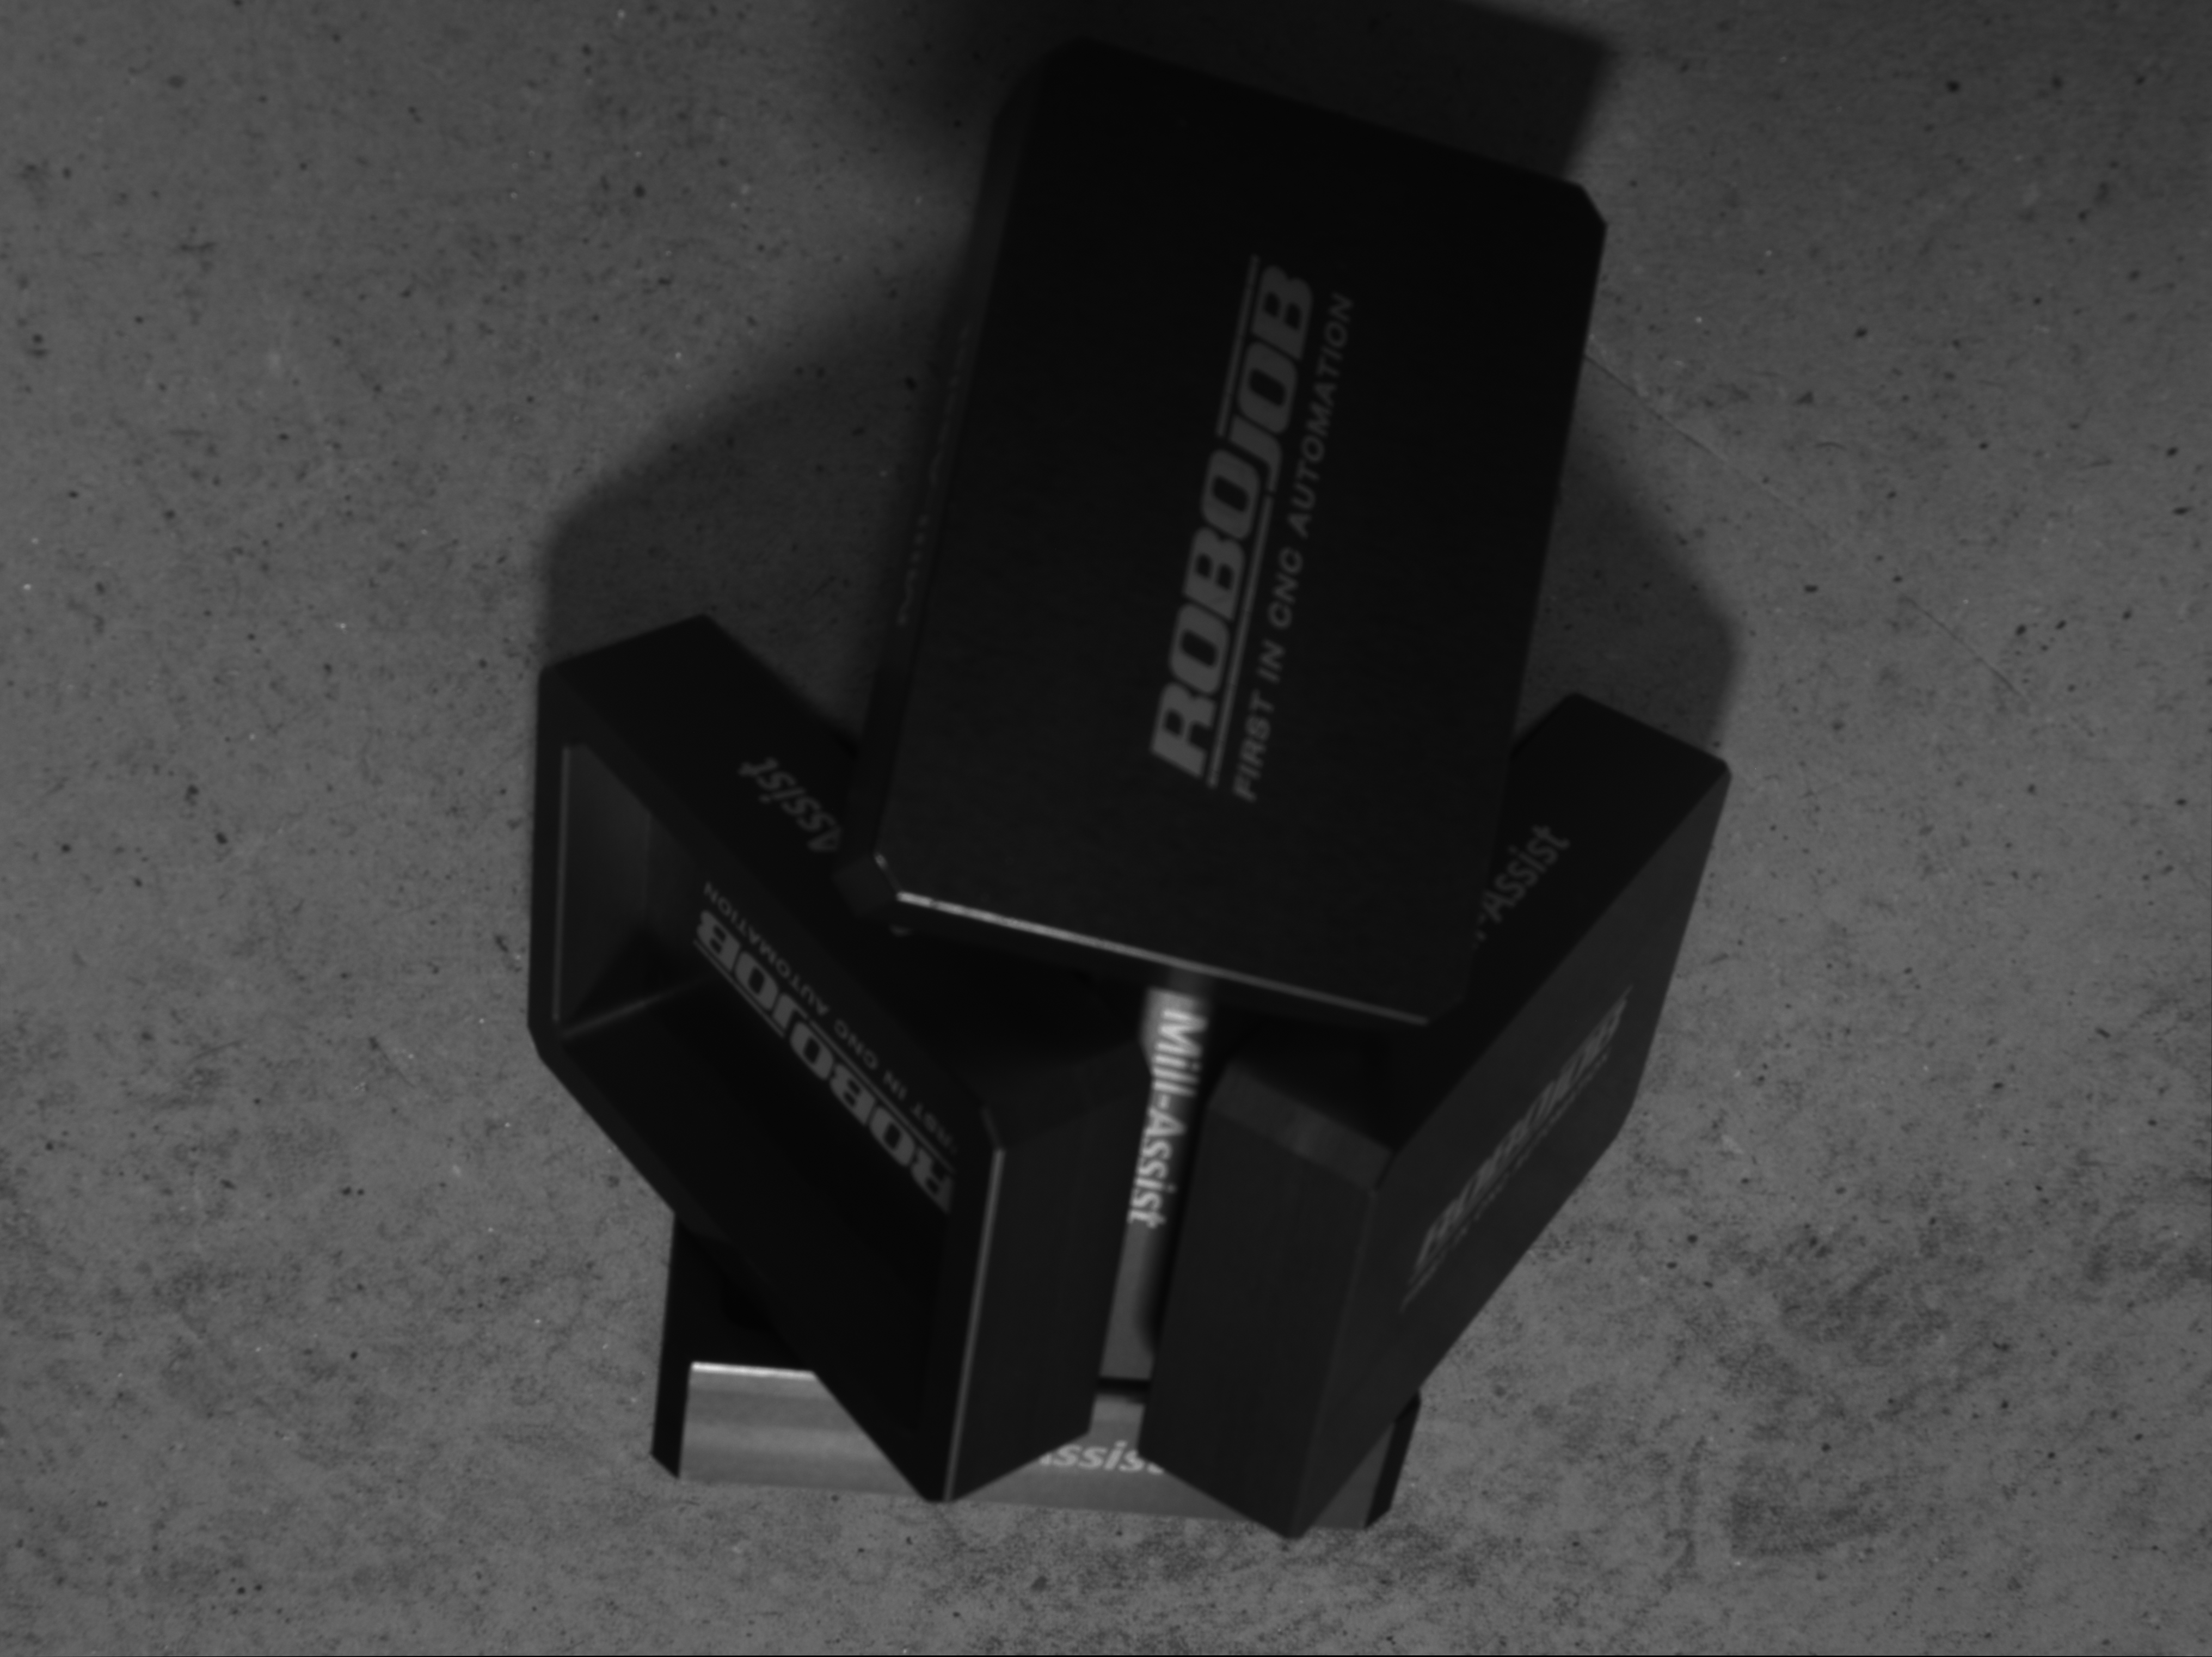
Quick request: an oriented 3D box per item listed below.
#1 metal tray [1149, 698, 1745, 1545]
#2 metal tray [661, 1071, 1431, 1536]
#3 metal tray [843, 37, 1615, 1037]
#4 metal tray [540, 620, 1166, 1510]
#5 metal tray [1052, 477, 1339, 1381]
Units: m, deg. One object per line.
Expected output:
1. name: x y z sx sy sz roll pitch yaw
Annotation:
1. metal tray: 0.058 0.047 0.615 0.030 0.130 0.090 27 133 20
2. metal tray: -0.011 0.079 0.661 0.130 0.090 0.030 6 130 -6
3. metal tray: 0.019 -0.042 0.544 0.090 0.130 0.030 14 169 -13
4. metal tray: -0.046 0.037 0.605 0.030 0.130 0.090 -22 139 -32
5. metal tray: 0.010 0.018 0.611 0.030 0.090 0.130 5 130 -6
